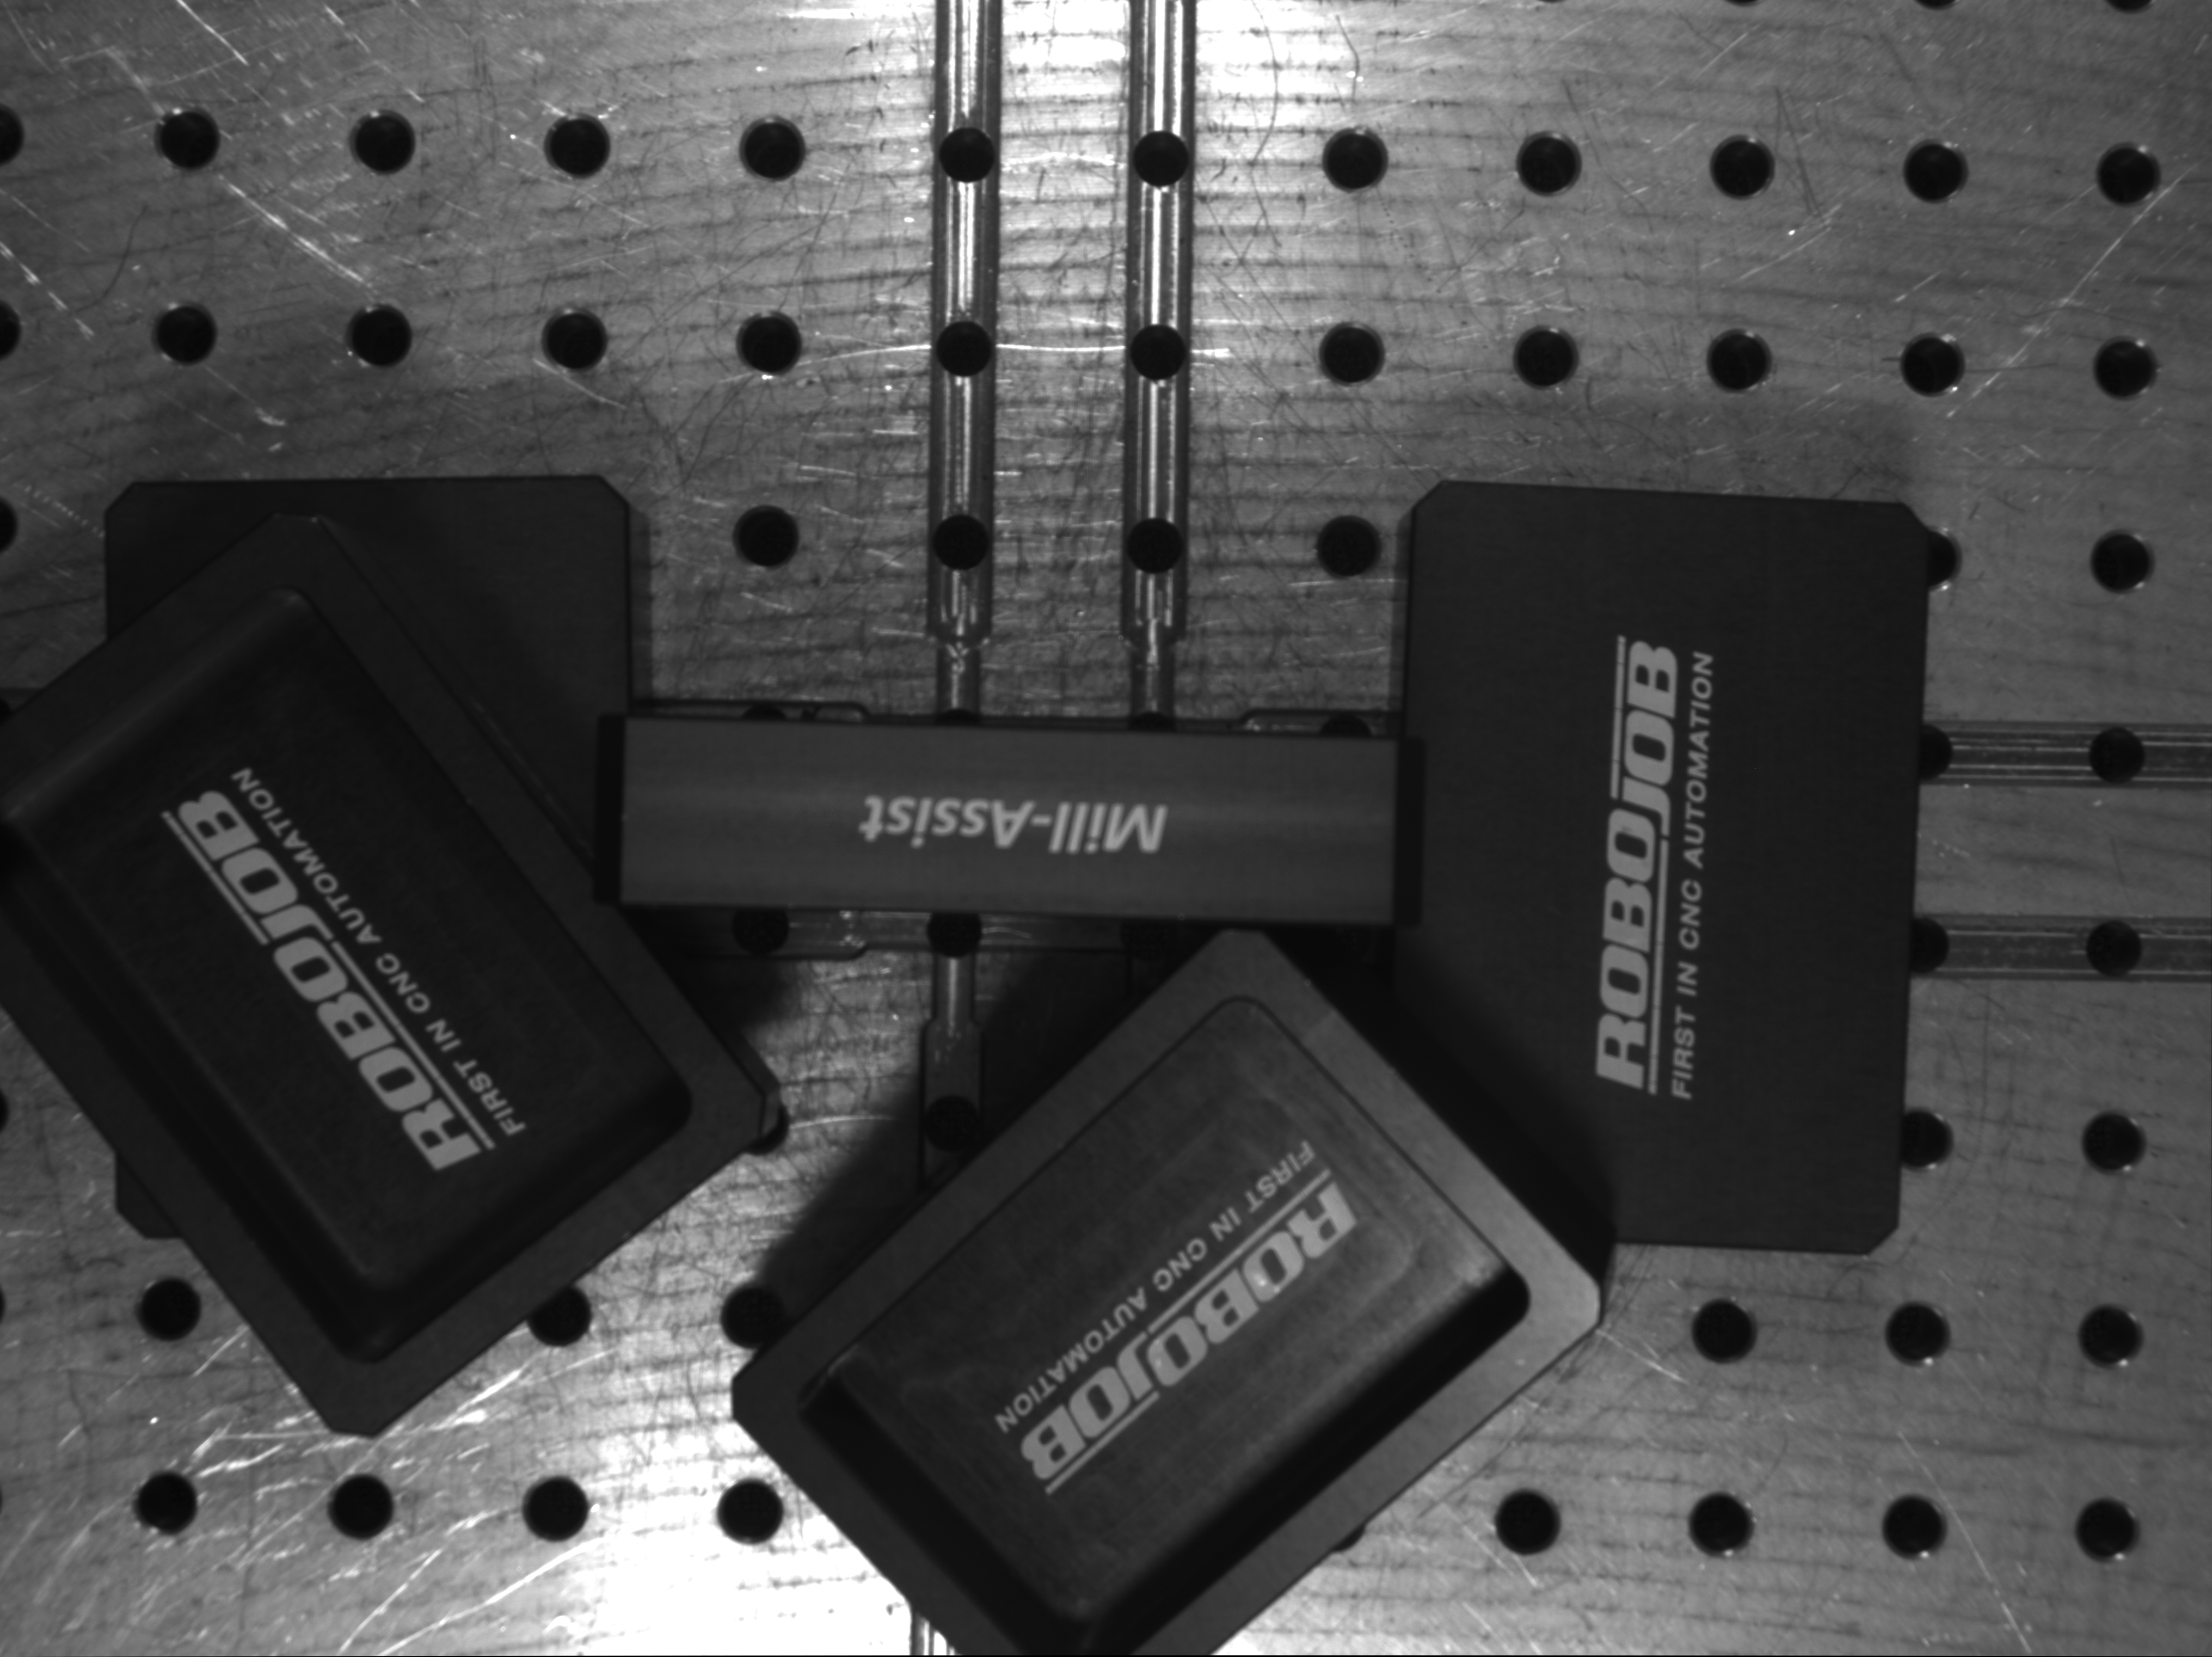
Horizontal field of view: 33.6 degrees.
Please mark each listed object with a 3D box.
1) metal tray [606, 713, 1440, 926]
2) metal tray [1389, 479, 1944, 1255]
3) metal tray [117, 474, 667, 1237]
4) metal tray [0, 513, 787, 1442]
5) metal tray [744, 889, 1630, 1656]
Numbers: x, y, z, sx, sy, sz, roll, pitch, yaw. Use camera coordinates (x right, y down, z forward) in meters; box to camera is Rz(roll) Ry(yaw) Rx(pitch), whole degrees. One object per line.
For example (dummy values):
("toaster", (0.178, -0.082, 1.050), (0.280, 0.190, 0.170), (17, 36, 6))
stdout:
("metal tray", (-0.013, -0.001, 0.614), (0.130, 0.090, 0.030), (2, 90, 0))
("metal tray", (0.096, 0.007, 0.645), (0.090, 0.030, 0.130), (3, 90, 0))
("metal tray", (-0.124, 0.005, 0.644), (0.090, 0.030, 0.130), (-1, 91, 0))
("metal tray", (-0.126, 0.024, 0.612), (0.090, 0.030, 0.130), (-38, 91, -1))
("metal tray", (0.013, 0.085, 0.626), (0.130, 0.030, 0.090), (-44, 91, 17))
